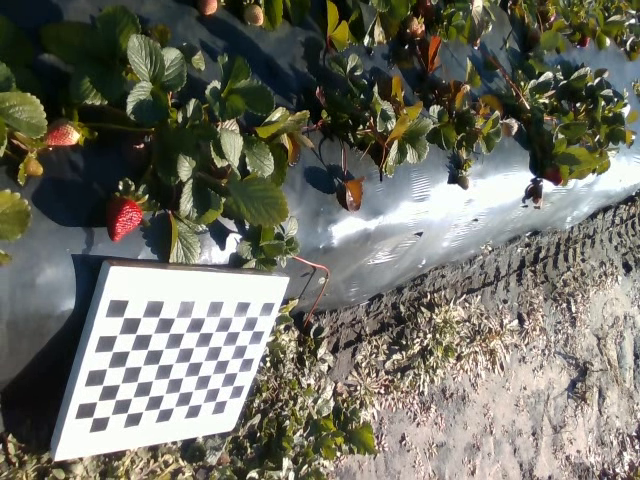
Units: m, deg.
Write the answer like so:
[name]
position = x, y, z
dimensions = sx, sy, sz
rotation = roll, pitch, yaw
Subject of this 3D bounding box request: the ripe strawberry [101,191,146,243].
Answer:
[ripe strawberry]
position = -0.227, -0.023, 0.712
dimensions = 0.058, 0.066, 0.062
rotation = -20, 44, 0
